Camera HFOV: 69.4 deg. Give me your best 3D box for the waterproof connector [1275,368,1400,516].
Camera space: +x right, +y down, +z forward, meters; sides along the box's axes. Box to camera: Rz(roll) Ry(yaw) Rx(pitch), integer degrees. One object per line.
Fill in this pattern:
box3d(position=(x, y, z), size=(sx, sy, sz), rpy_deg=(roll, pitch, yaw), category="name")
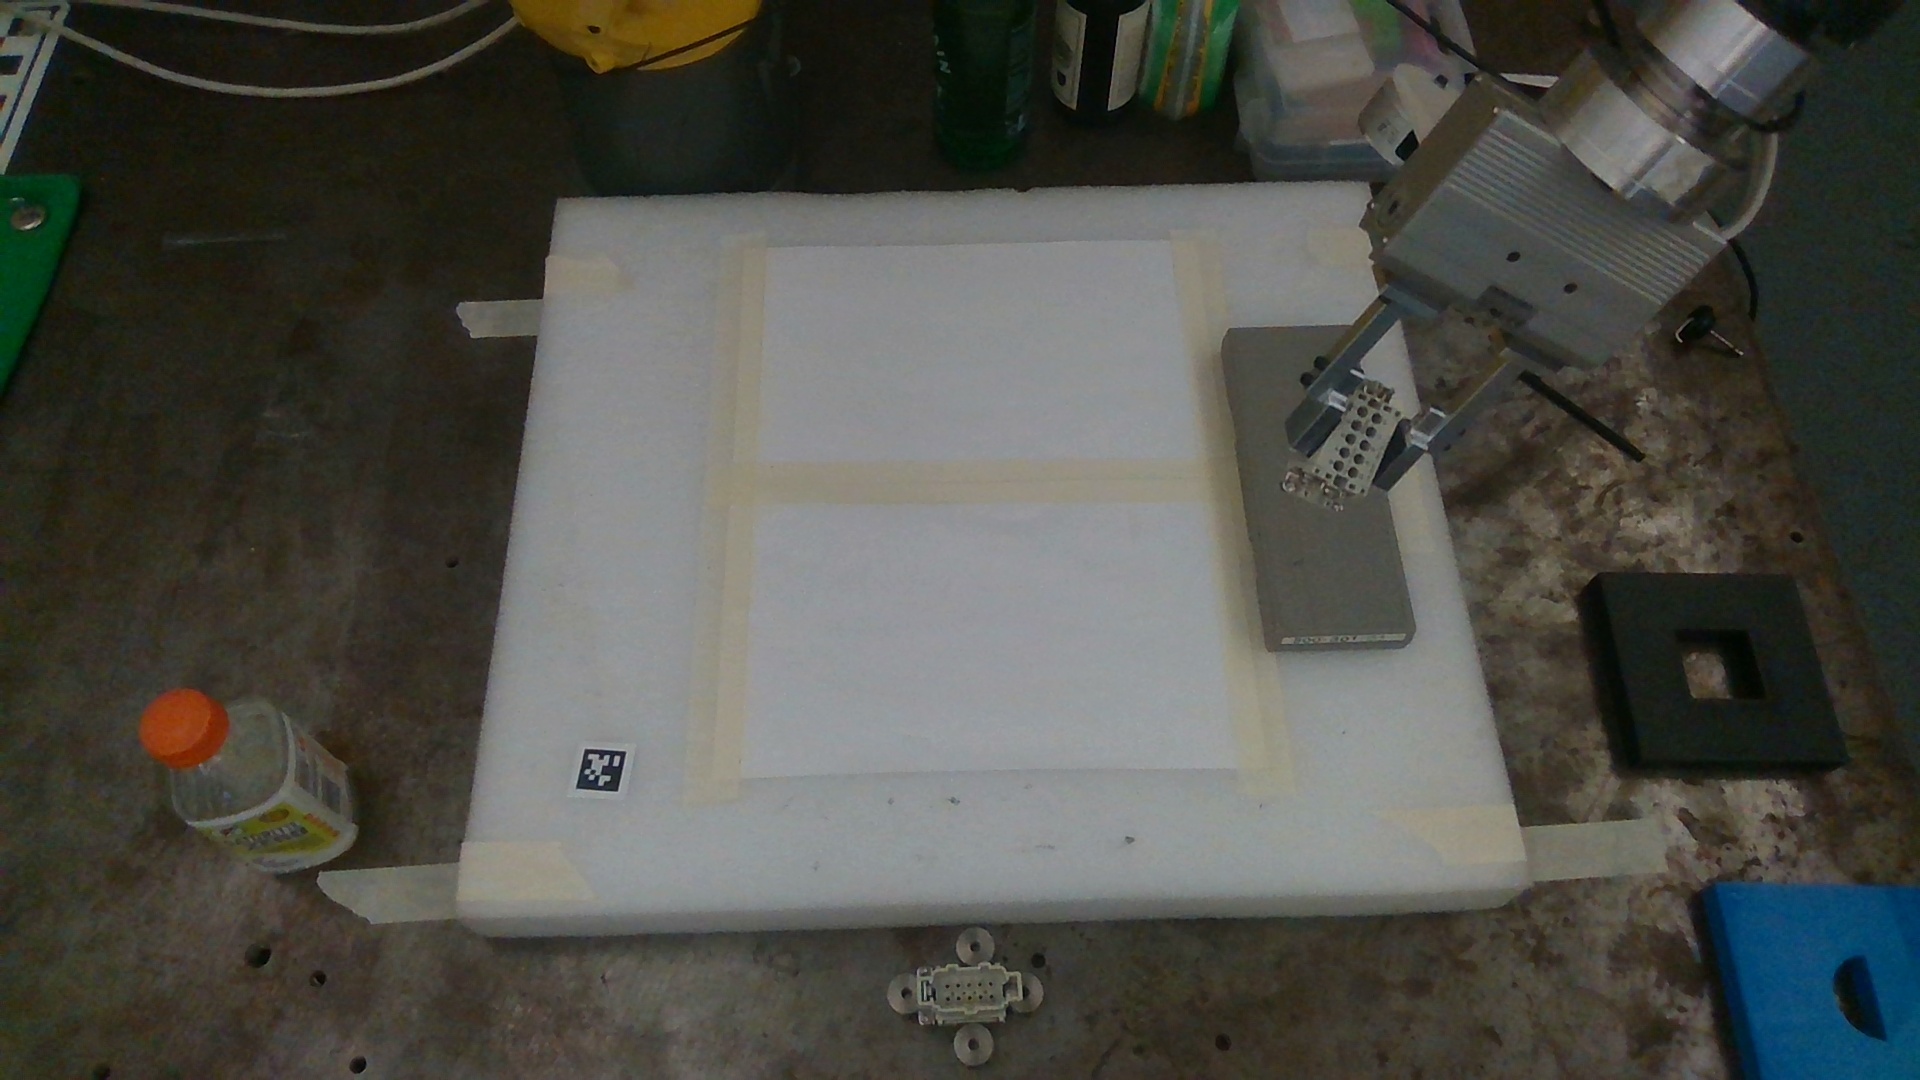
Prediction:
box3d(position=(0.182, -0.047, 0.672), size=(0.036, 0.038, 0.069), rpy_deg=(21, 97, -10), category="waterproof connector")
